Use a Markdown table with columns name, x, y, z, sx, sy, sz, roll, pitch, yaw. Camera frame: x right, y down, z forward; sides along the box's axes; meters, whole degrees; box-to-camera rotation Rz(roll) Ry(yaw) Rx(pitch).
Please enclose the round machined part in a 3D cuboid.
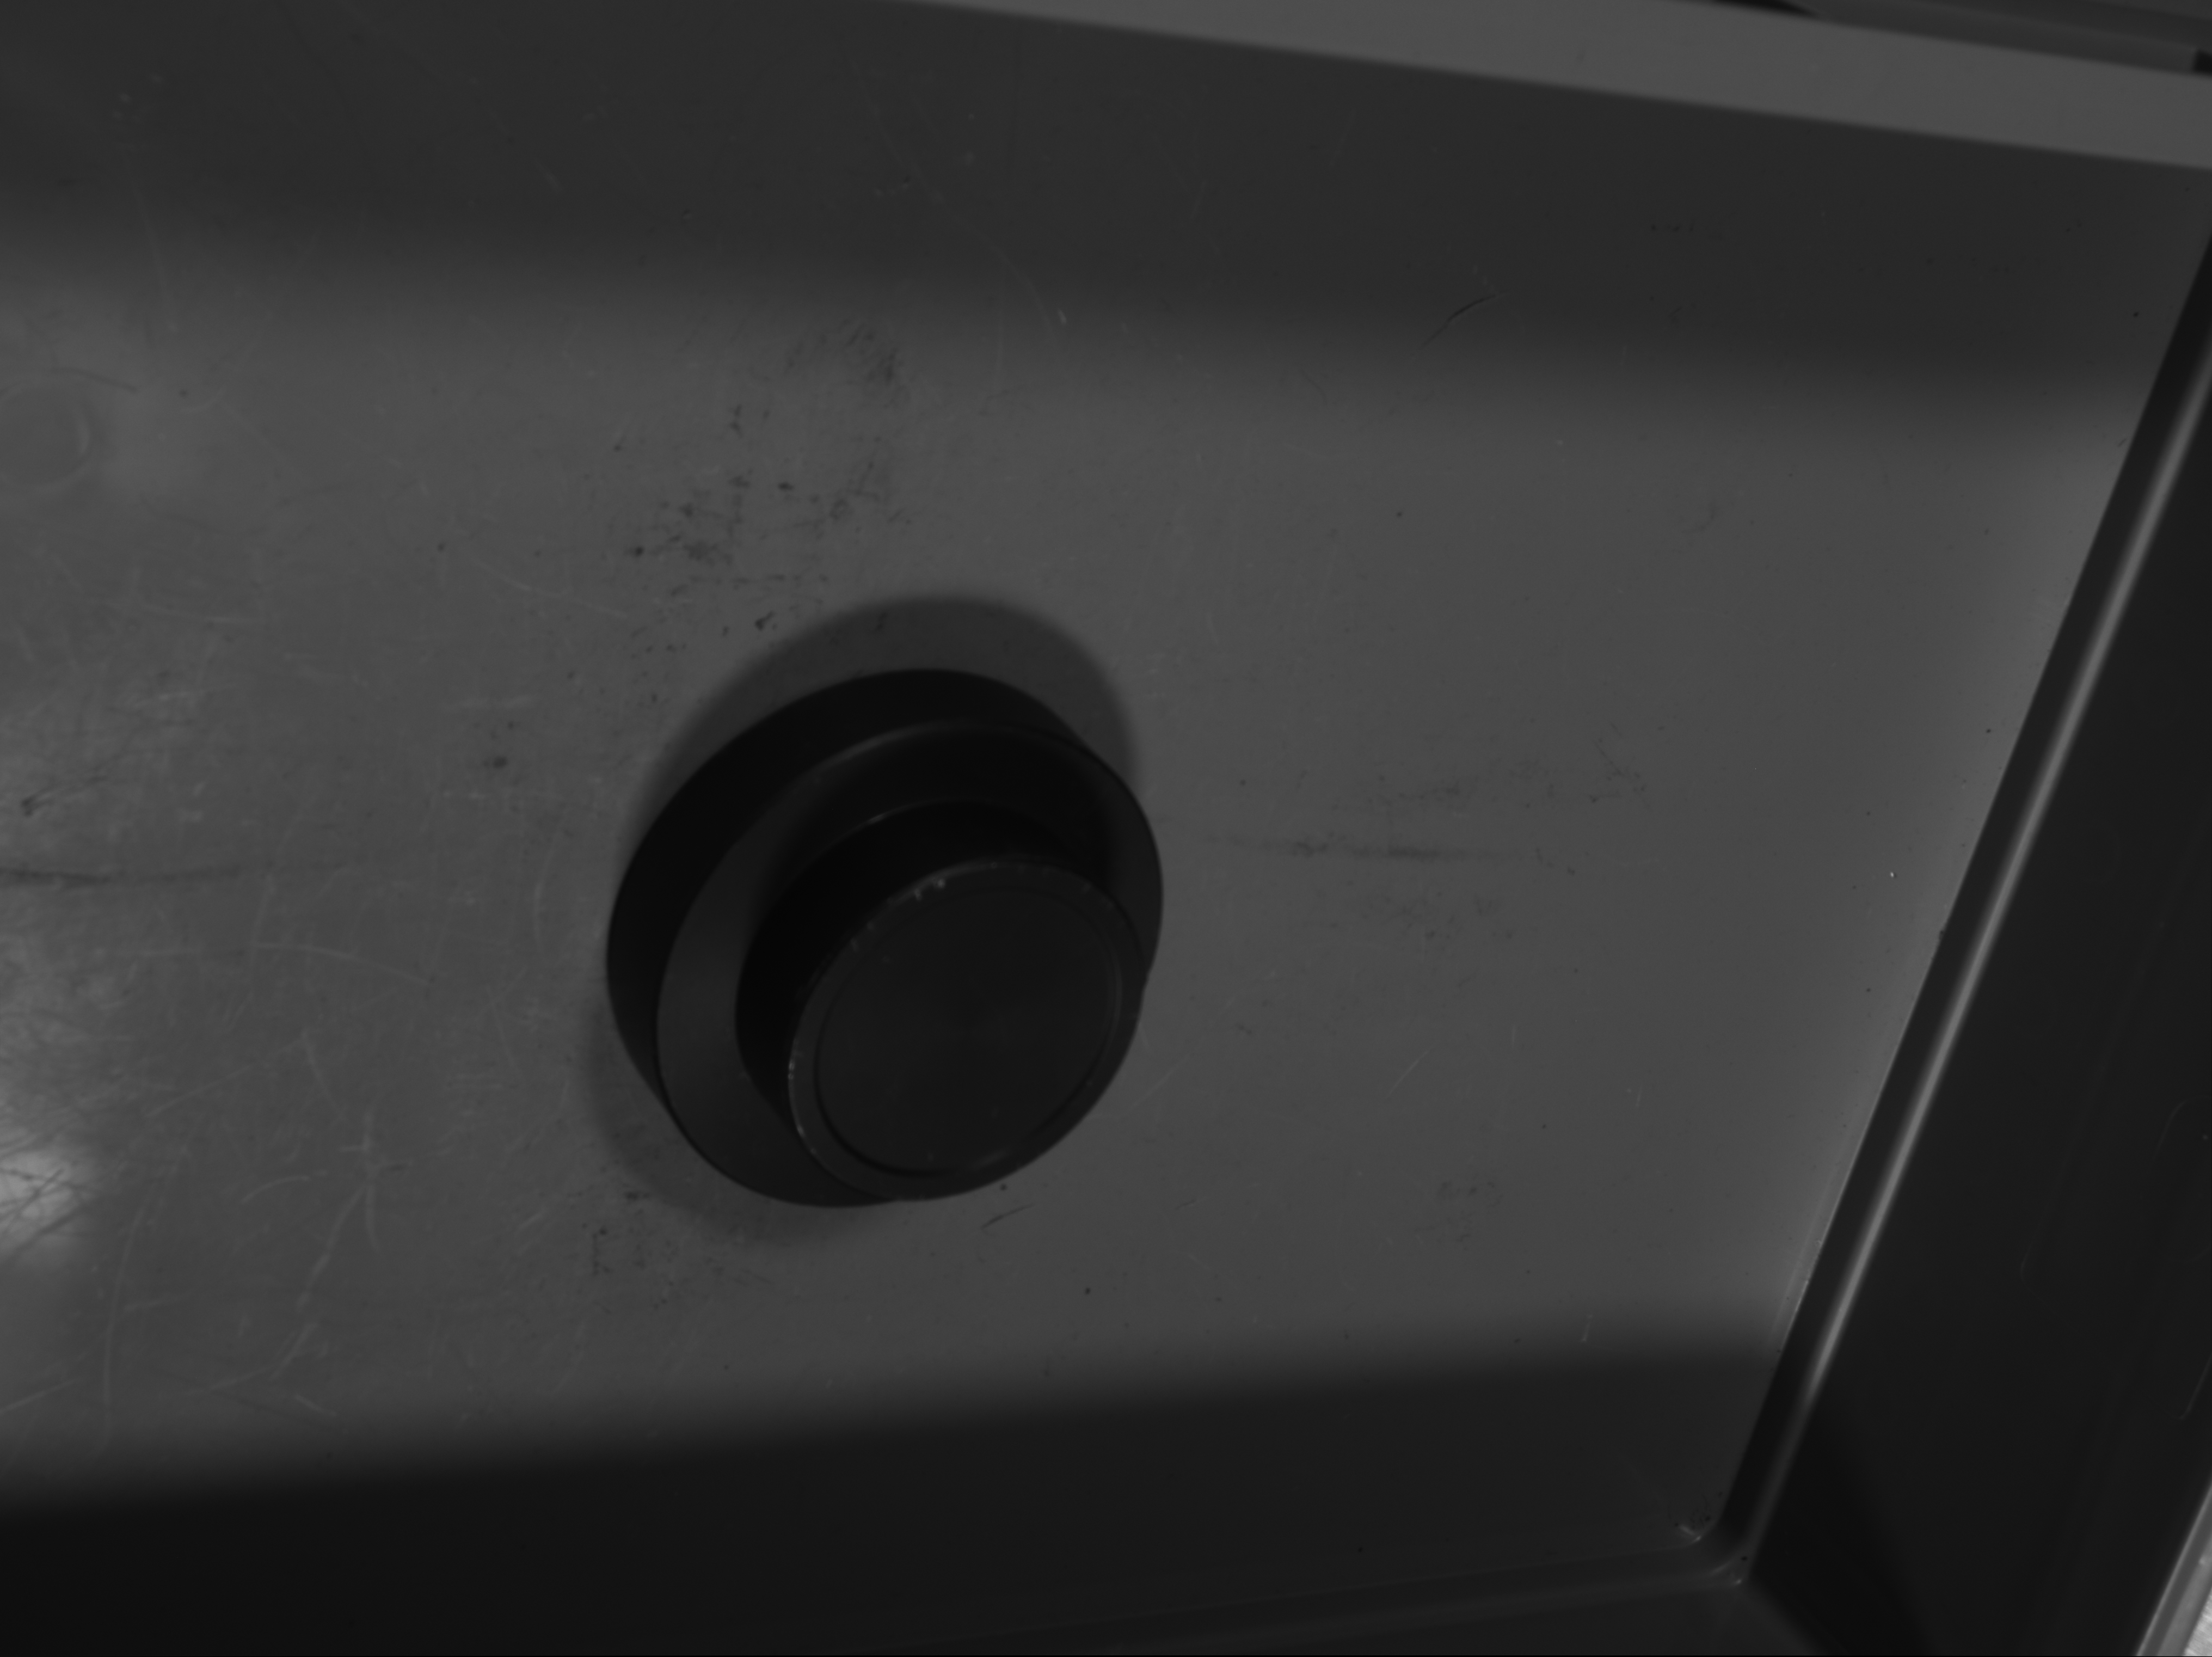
| name | x | y | z | sx | sy | sz | roll | pitch | yaw |
| --- | --- | --- | --- | --- | --- | --- | --- | --- | --- |
| round machined part | -0.026 | 0.026 | 0.637 | 0.098 | 0.042 | 0.098 | -15 | 125 | -22 |
